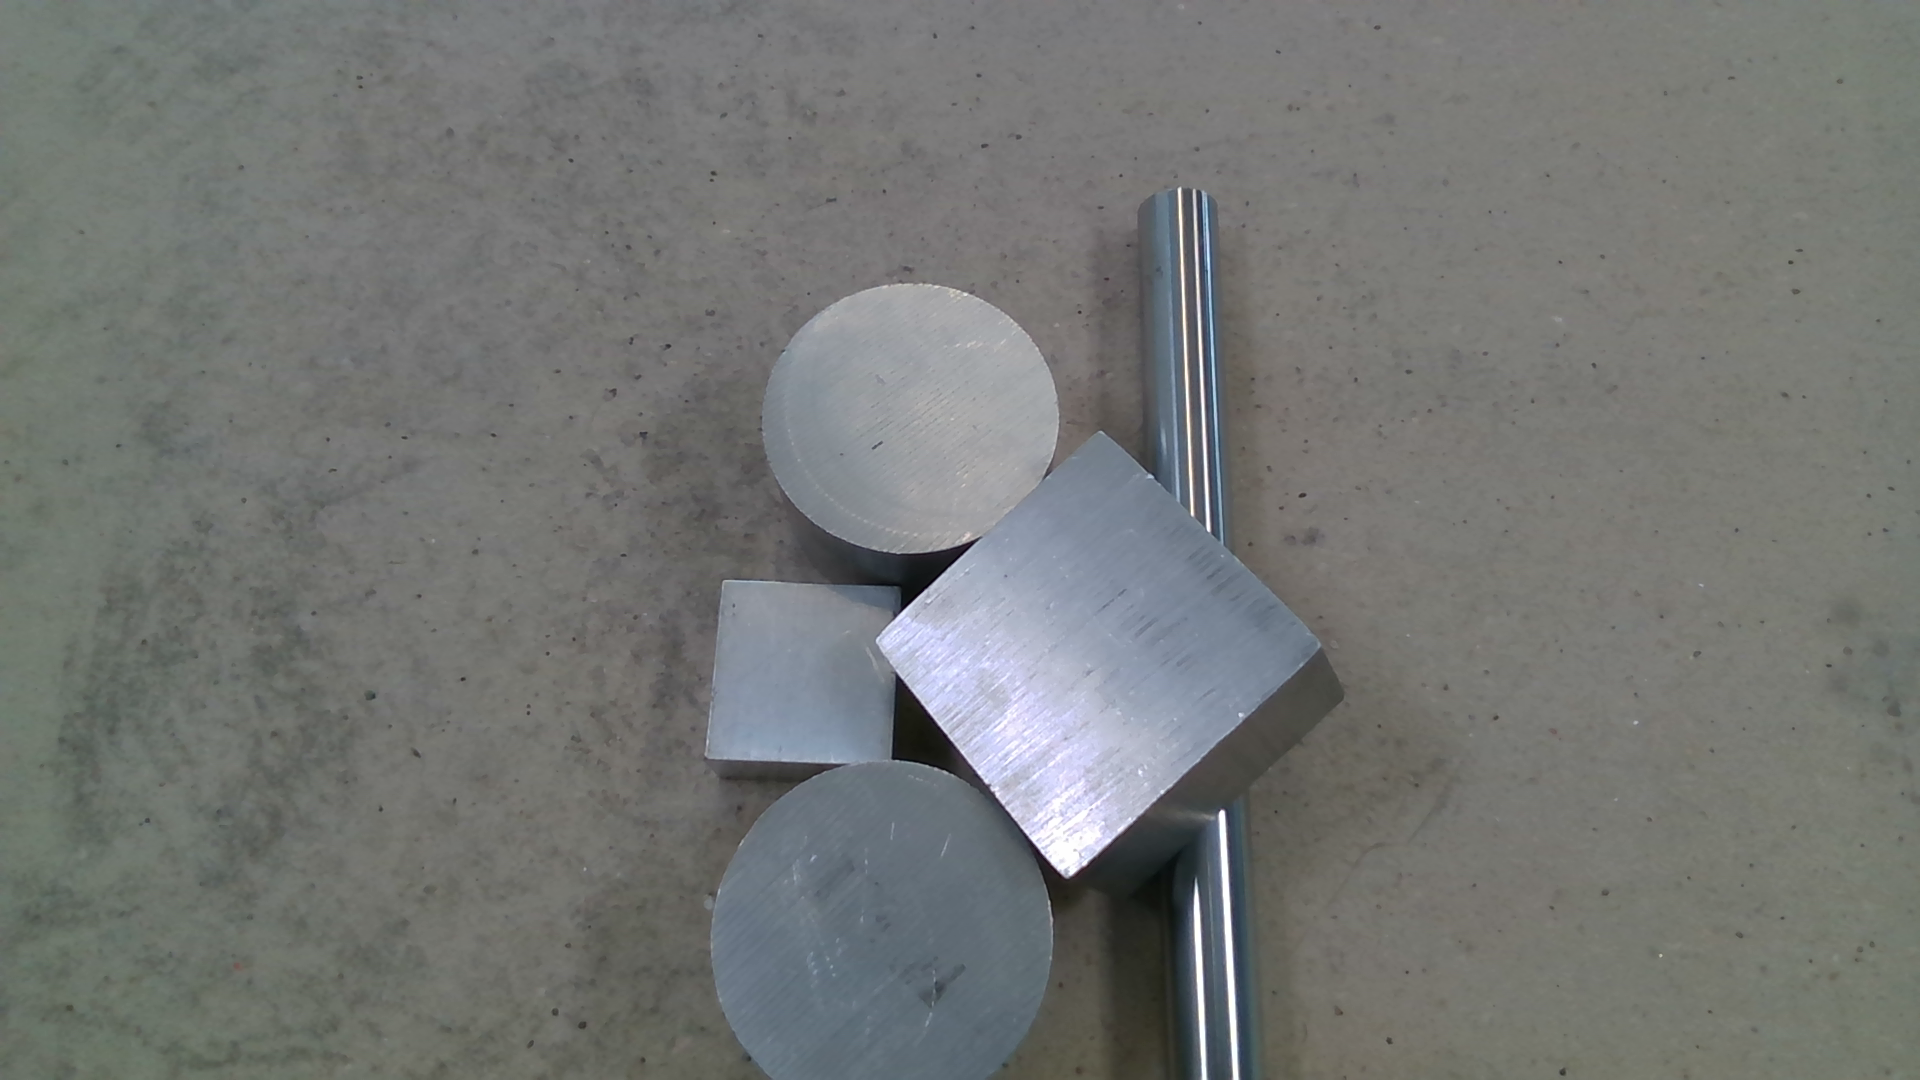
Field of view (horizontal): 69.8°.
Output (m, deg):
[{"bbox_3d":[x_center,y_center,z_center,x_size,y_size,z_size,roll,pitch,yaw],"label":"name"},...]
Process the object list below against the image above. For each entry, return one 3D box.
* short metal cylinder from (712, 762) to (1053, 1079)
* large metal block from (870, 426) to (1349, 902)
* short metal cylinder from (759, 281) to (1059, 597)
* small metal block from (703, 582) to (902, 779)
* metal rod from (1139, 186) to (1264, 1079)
[{"bbox_3d":[-0.018,0.100,0.347,0.080,0.050,0.080,0,70,0],"label":"short metal cylinder"},{"bbox_3d":[0.038,0.033,0.352,0.080,0.050,0.080,-43,62,3],"label":"large metal block"},{"bbox_3d":[-0.013,-0.026,0.391,0.080,0.050,0.080,0,70,0],"label":"short metal cylinder"},{"bbox_3d":[-0.042,0.040,0.382,0.050,0.025,0.050,2,70,1],"label":"small metal block"},{"bbox_3d":[0.066,0.037,0.382,0.025,0.025,0.299,1,71,0],"label":"metal rod"}]
